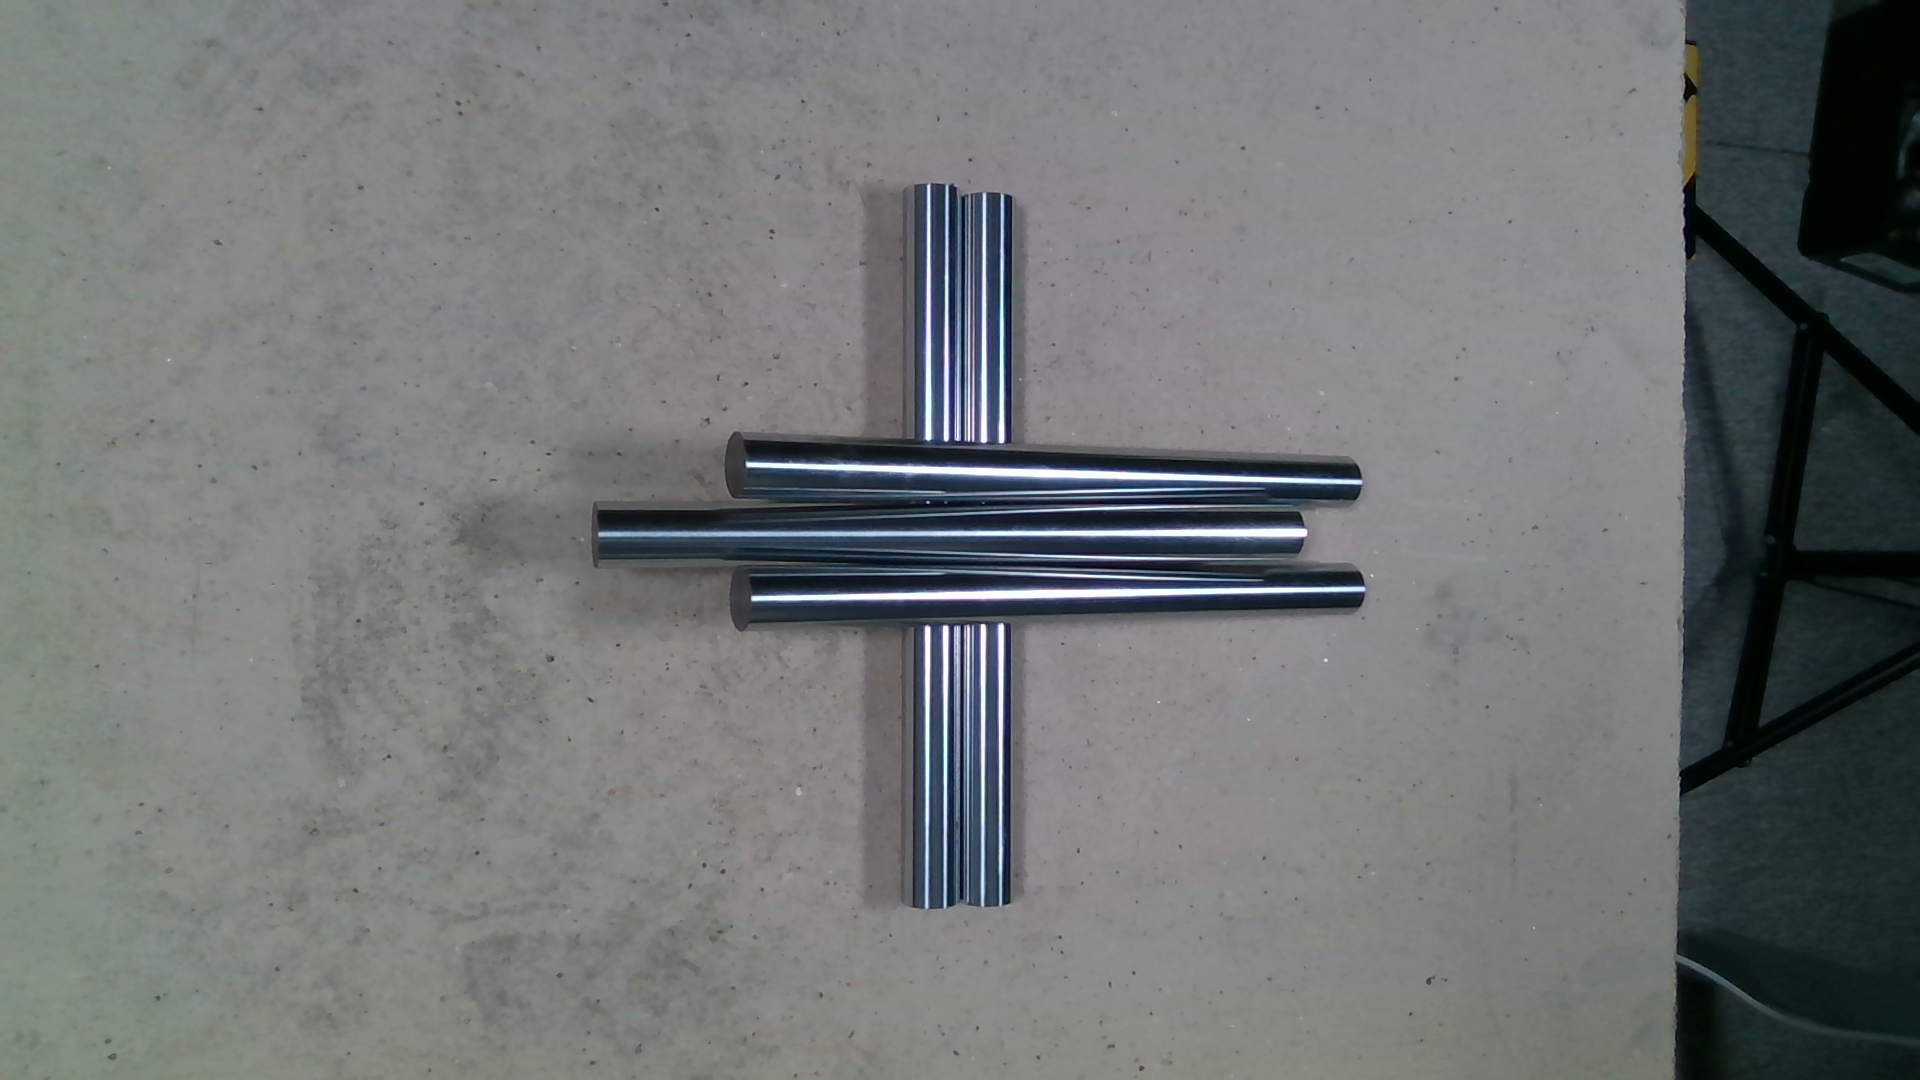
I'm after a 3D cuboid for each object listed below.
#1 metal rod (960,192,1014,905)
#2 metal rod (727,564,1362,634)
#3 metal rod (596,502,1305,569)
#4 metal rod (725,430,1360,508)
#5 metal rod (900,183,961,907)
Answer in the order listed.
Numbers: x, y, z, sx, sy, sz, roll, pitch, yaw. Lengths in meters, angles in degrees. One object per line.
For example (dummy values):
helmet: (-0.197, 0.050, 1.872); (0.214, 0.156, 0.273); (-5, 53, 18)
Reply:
metal rod: (0.011, 0.004, 0.591); (0.025, 0.025, 0.300); (0, 90, -20)
metal rod: (0.050, 0.023, 0.582); (0.300, 0.025, 0.025); (0, 90, -28)
metal rod: (0.006, -0.002, 0.561); (0.300, 0.025, 0.025); (0, 90, -21)
metal rod: (0.049, -0.028, 0.582); (0.300, 0.025, 0.025); (0, 90, -28)
metal rod: (-0.012, 0.002, 0.582); (0.025, 0.025, 0.300); (0, 90, -20)
